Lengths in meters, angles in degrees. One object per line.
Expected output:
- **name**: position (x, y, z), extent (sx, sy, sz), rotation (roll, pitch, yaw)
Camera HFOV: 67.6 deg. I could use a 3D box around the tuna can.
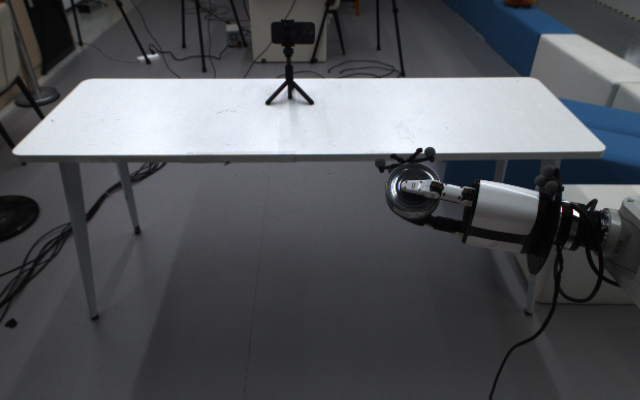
- **tuna can**: position (0.146, -0.018, 0.749), extent (0.085, 0.034, 0.085), rotation (-4, 68, 9)
